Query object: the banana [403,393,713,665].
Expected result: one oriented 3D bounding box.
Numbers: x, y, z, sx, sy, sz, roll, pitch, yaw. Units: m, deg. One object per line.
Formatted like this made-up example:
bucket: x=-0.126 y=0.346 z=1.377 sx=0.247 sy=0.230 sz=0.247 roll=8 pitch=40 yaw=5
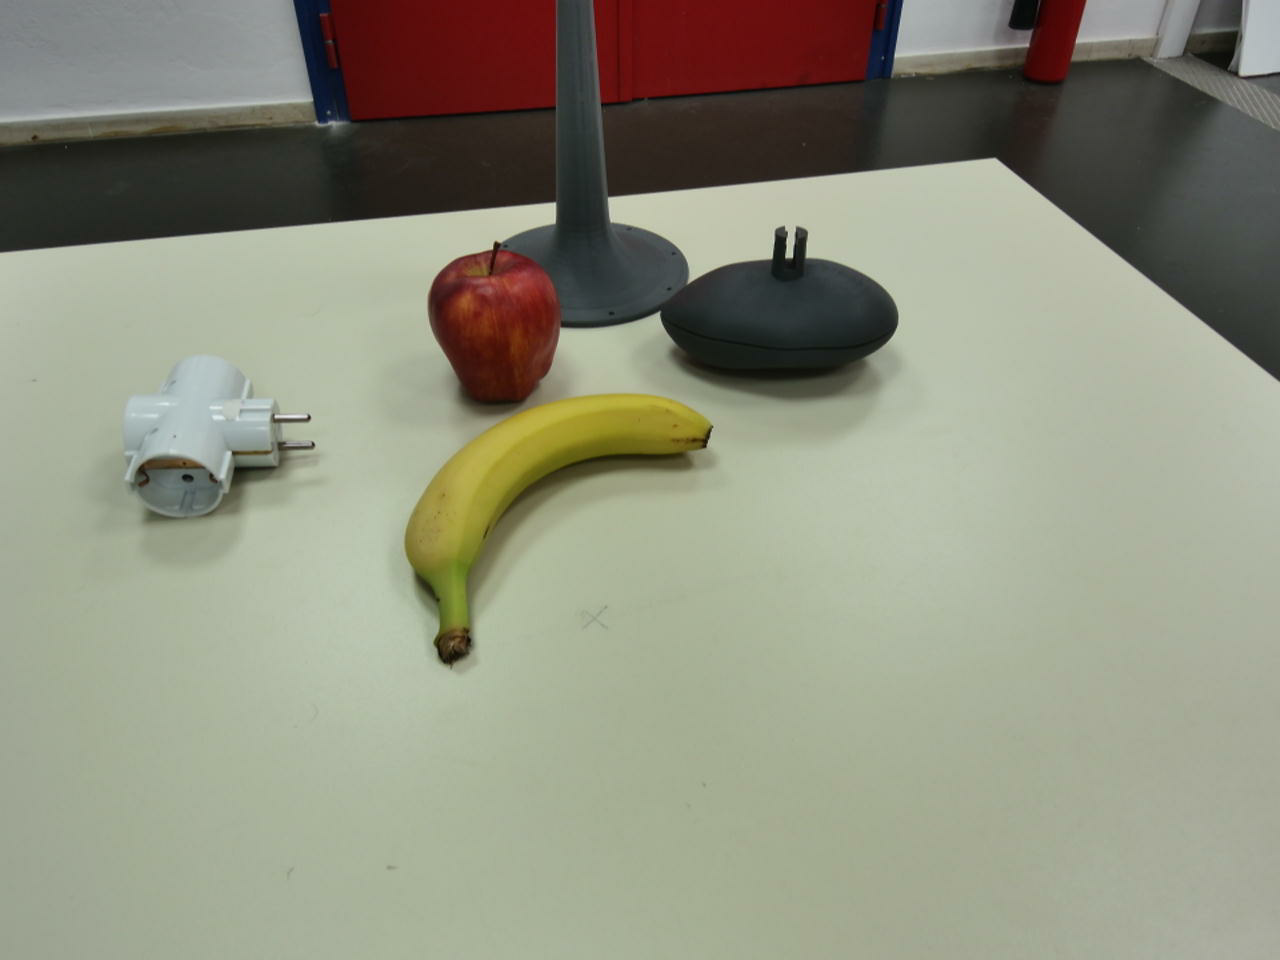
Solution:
banana: x=-0.055 y=0.003 z=0.513 sx=0.094 sy=0.041 sz=0.196 roll=29 pitch=47 yaw=31
